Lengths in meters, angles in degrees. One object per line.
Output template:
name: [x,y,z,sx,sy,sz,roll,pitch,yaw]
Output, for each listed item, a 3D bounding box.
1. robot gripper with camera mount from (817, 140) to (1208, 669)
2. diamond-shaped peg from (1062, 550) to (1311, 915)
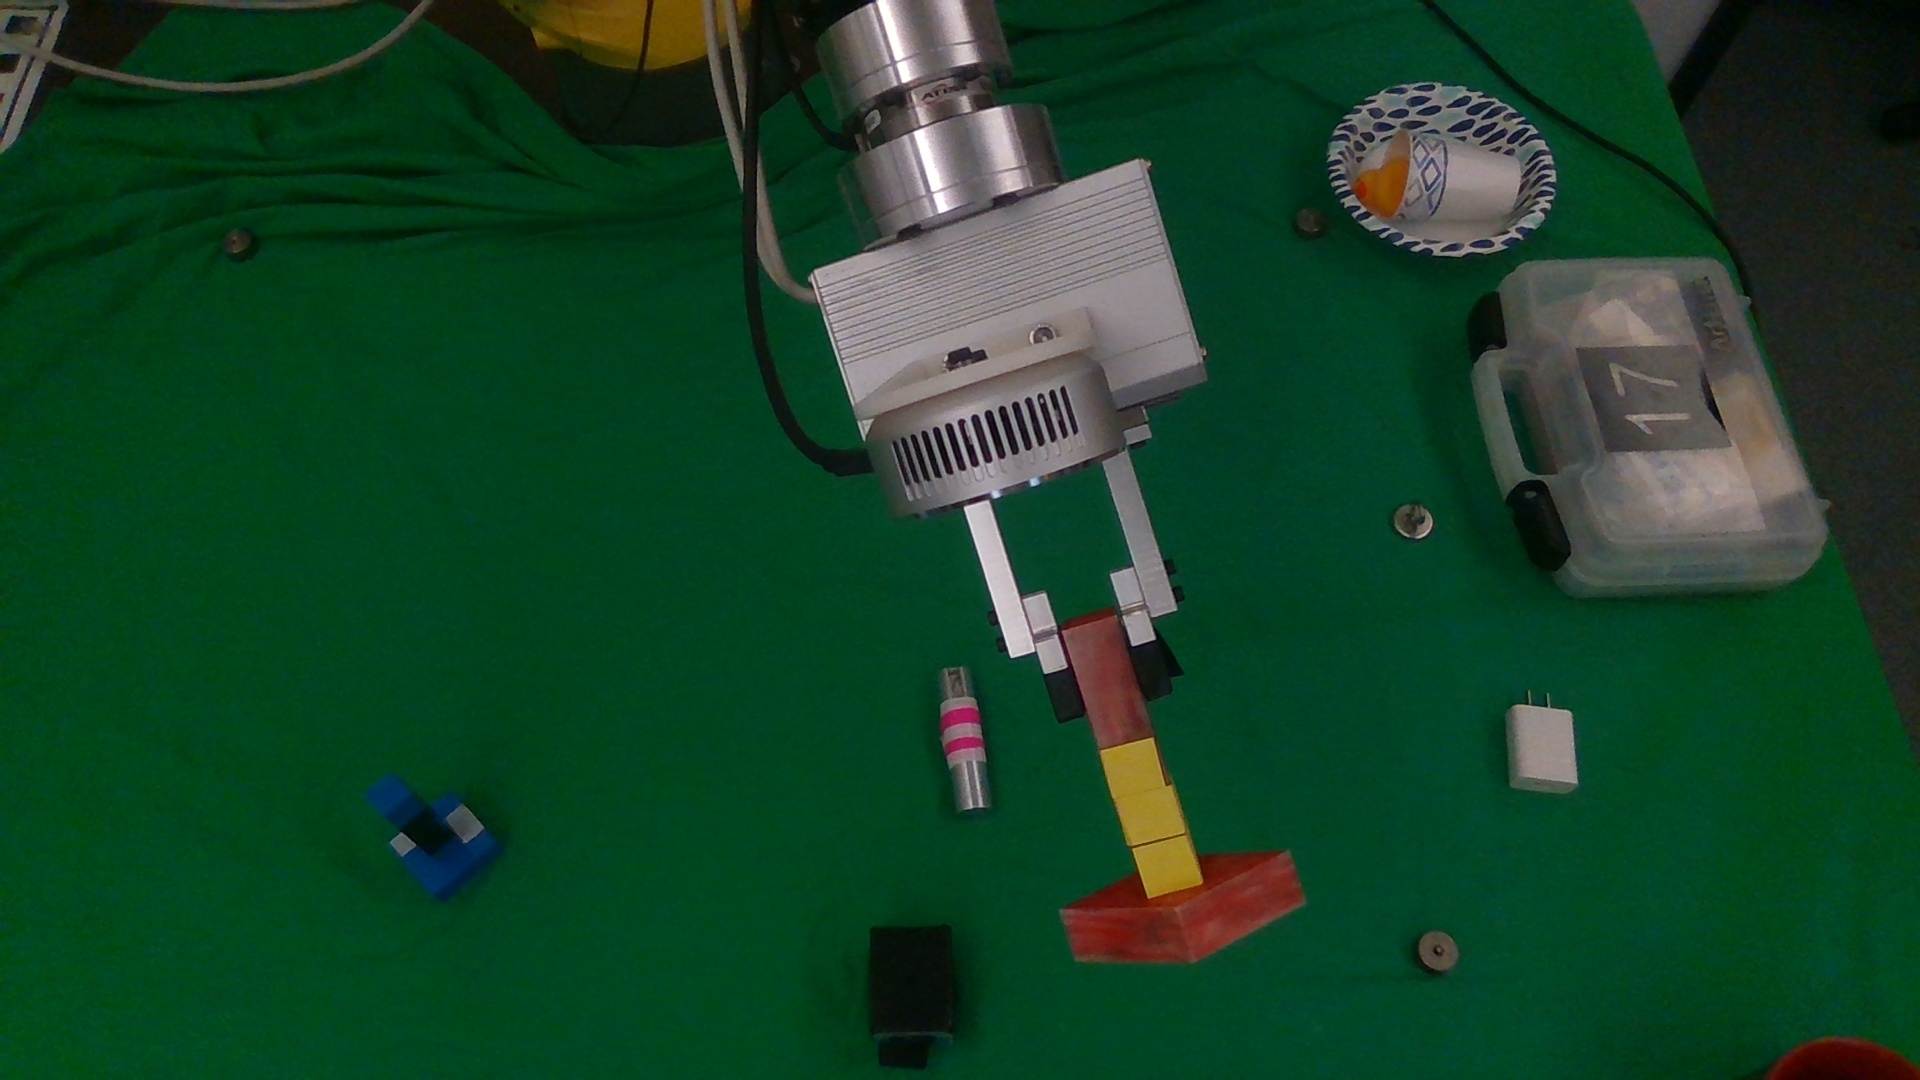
robot gripper with camera mount: [0.030,-0.029,0.395,0.119,0.193,0.158,-17,96,4]
diamond-shaped peg: [0.064,0.064,0.480,0.074,0.045,0.122,-17,92,-18]
